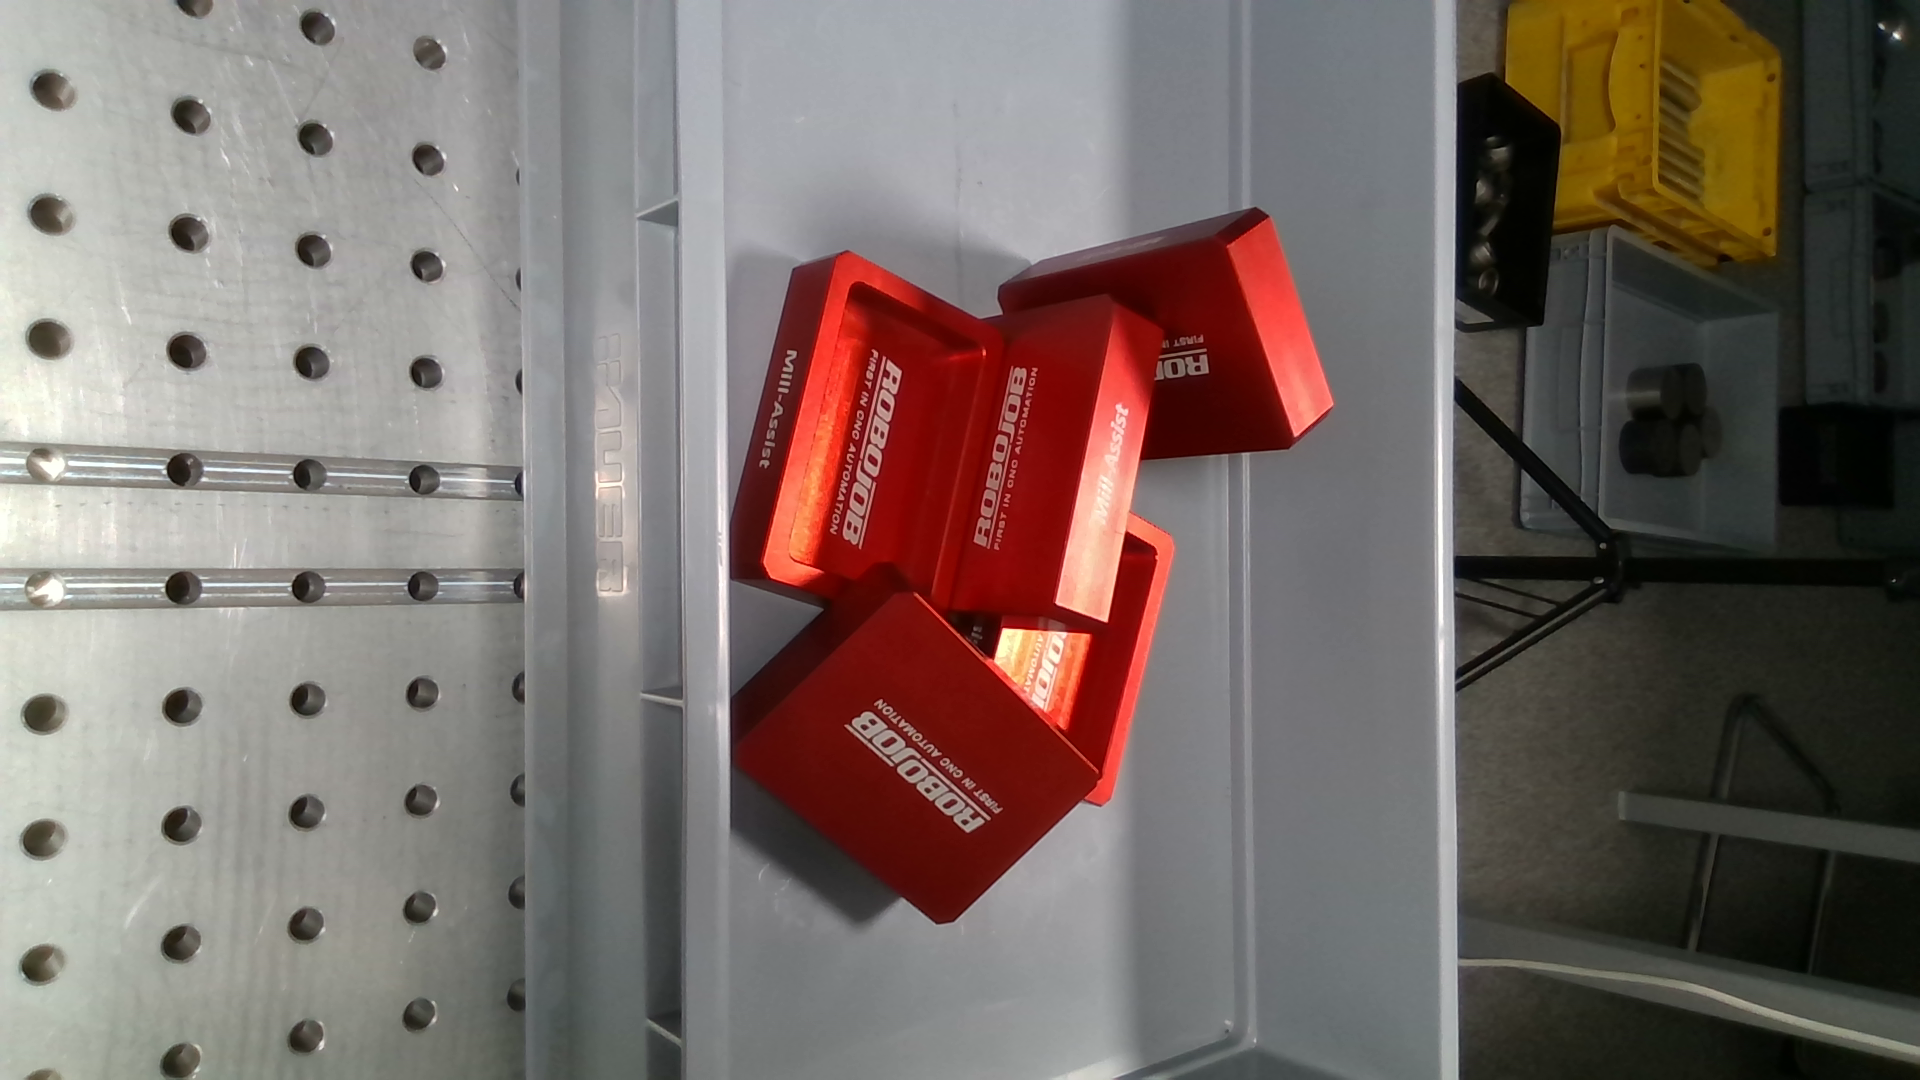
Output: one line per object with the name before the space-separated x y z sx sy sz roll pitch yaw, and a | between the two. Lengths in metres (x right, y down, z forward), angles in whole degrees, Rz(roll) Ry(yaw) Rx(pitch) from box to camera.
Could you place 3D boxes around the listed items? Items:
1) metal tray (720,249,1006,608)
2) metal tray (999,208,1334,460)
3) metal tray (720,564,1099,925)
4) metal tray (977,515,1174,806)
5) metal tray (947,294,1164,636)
metal tray | -0.036 -0.037 0.546 0.090 0.030 0.130 20 77 -38
metal tray | 0.084 -0.081 0.582 0.030 0.130 0.090 -37 112 -34
metal tray | -0.017 0.082 0.538 0.090 0.030 0.130 -44 120 1
metal tray | 0.043 0.044 0.614 0.090 0.030 0.130 27 73 -37
metal tray | 0.030 -0.029 0.563 0.030 0.090 0.130 20 77 -38
